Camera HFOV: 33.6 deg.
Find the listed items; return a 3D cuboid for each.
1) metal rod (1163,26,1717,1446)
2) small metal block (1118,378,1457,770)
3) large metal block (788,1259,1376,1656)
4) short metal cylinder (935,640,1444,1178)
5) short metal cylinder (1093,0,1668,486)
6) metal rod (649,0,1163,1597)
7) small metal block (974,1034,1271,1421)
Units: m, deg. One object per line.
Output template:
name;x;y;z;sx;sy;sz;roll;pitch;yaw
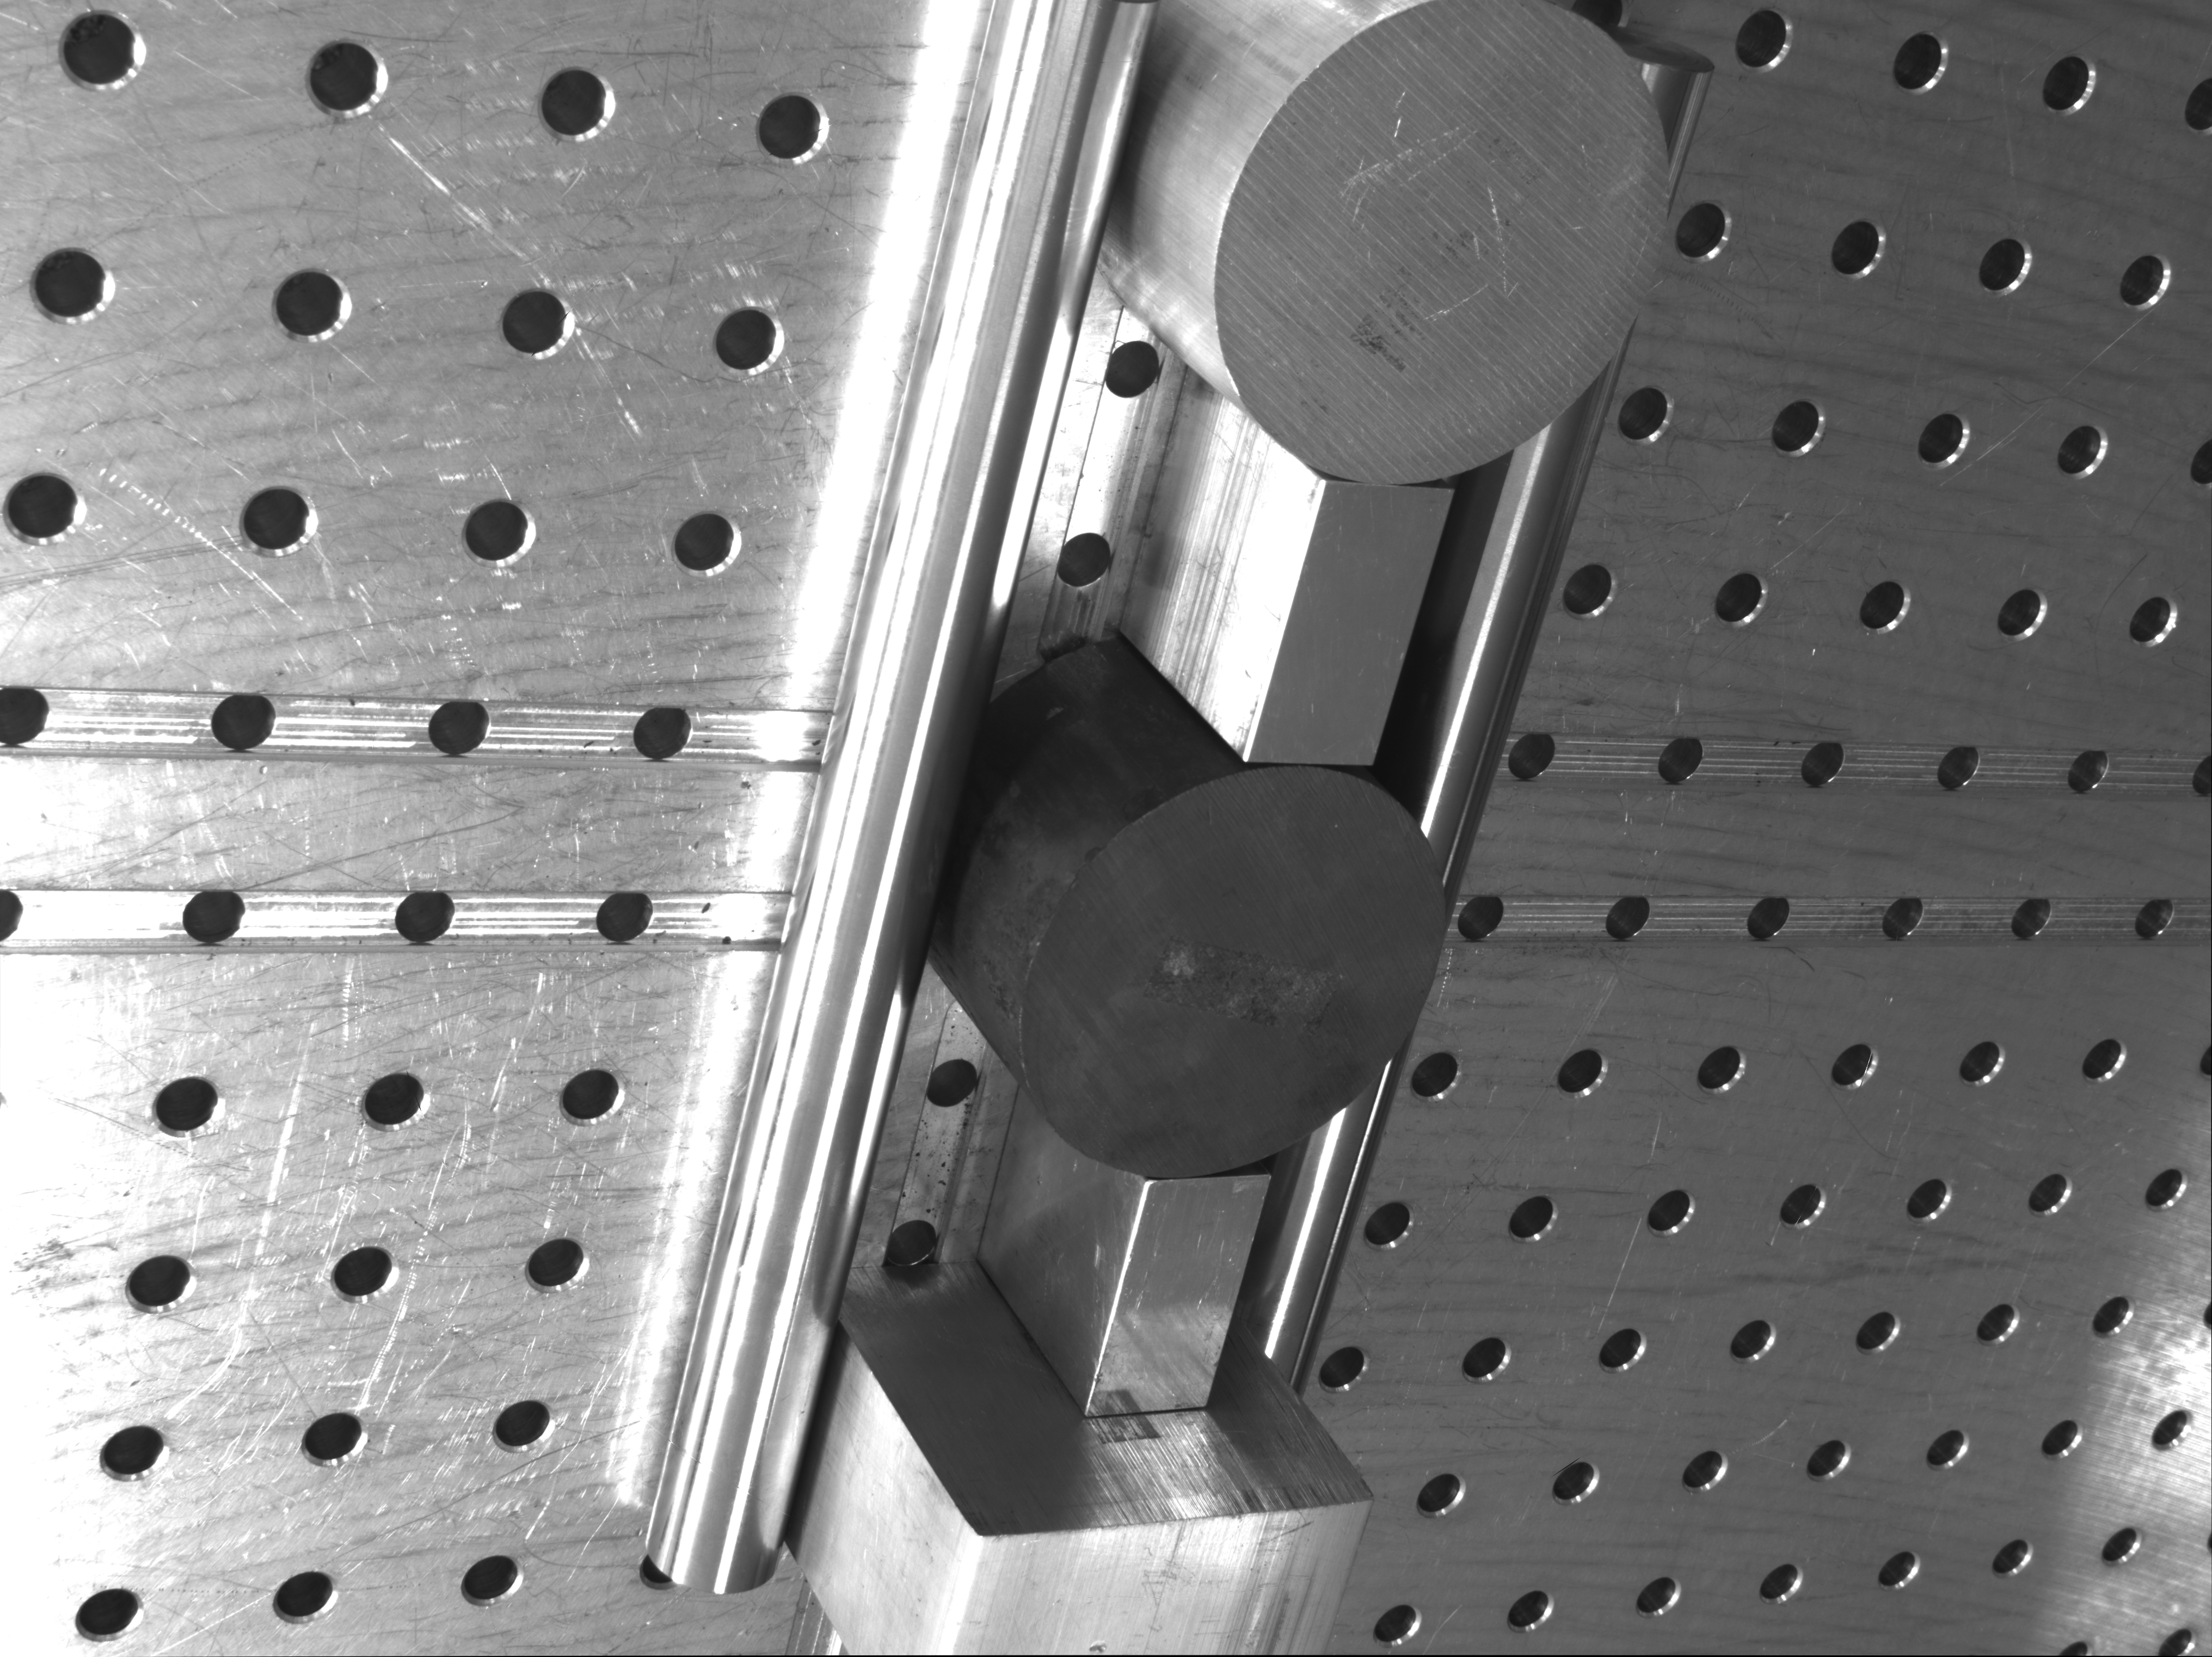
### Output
metal rod;0.055;0.003;0.670;0.025;0.025;0.300;1;118;-28
small metal block;0.029;-0.044;0.612;0.025;0.050;0.050;1;118;-28
large metal block;-0.009;0.122;0.674;0.080;0.080;0.050;1;118;-28
short metal cylinder;0.012;0.014;0.638;0.080;0.050;0.080;-14;124;-21
short metal cylinder;0.042;-0.101;0.585;0.080;0.050;0.080;-14;124;-21
metal rod;-0.038;0.003;0.620;0.025;0.025;0.300;1;118;-28
small metal block;0.002;0.072;0.668;0.025;0.050;0.050;0;118;-28
